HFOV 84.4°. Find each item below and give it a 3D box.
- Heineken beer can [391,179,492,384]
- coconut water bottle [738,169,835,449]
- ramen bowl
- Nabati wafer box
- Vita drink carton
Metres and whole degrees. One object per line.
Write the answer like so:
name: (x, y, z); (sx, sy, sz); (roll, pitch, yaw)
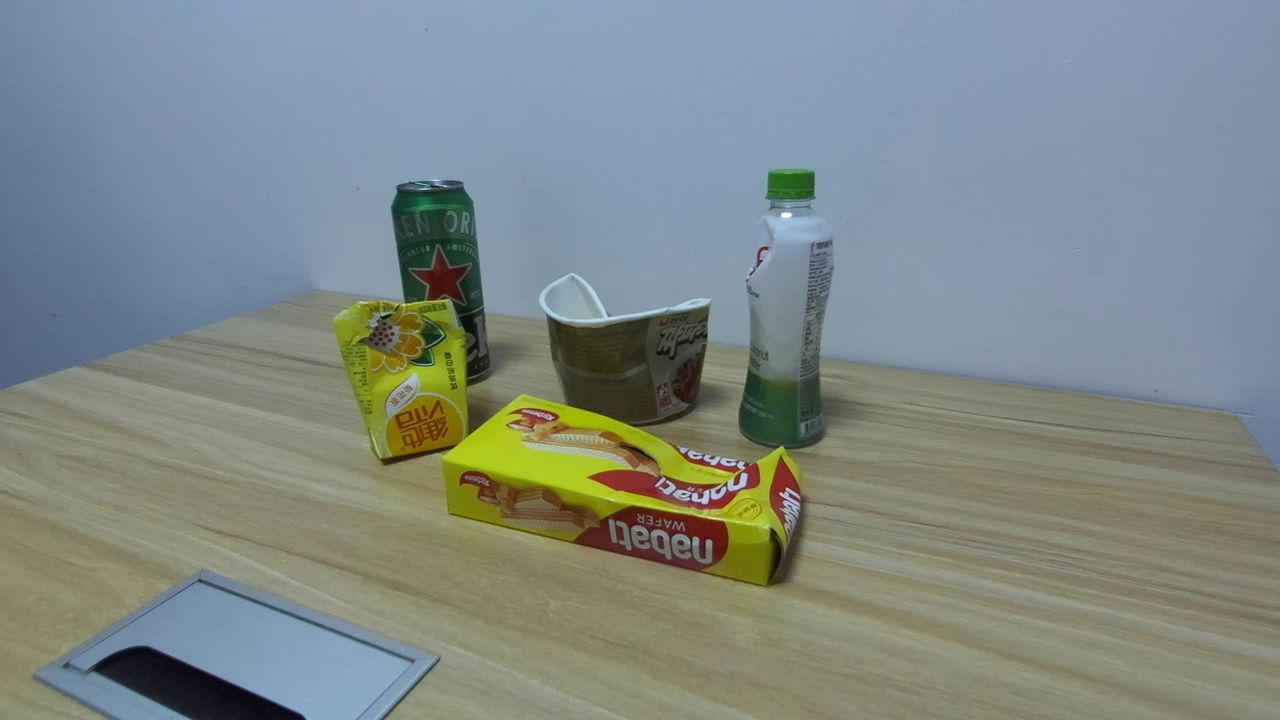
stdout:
Heineken beer can: (-0.171, -0.065, 0.613); (0.067, 0.169, 0.067); (-2, 20, 1)
coconut water bottle: (0.103, -0.036, 0.495); (0.069, 0.186, 0.069); (-1, 18, 1)
ramen bowl: (-0.016, -0.010, 0.566); (0.137, 0.098, 0.137); (-2, 20, 1)
Nabati wafer box: (-0.005, 0.071, 0.432); (0.203, 0.042, 0.107); (9, 25, 20)
Vita drink carton: (-0.168, 0.010, 0.509); (0.087, 0.108, 0.042); (-9, 10, -28)
